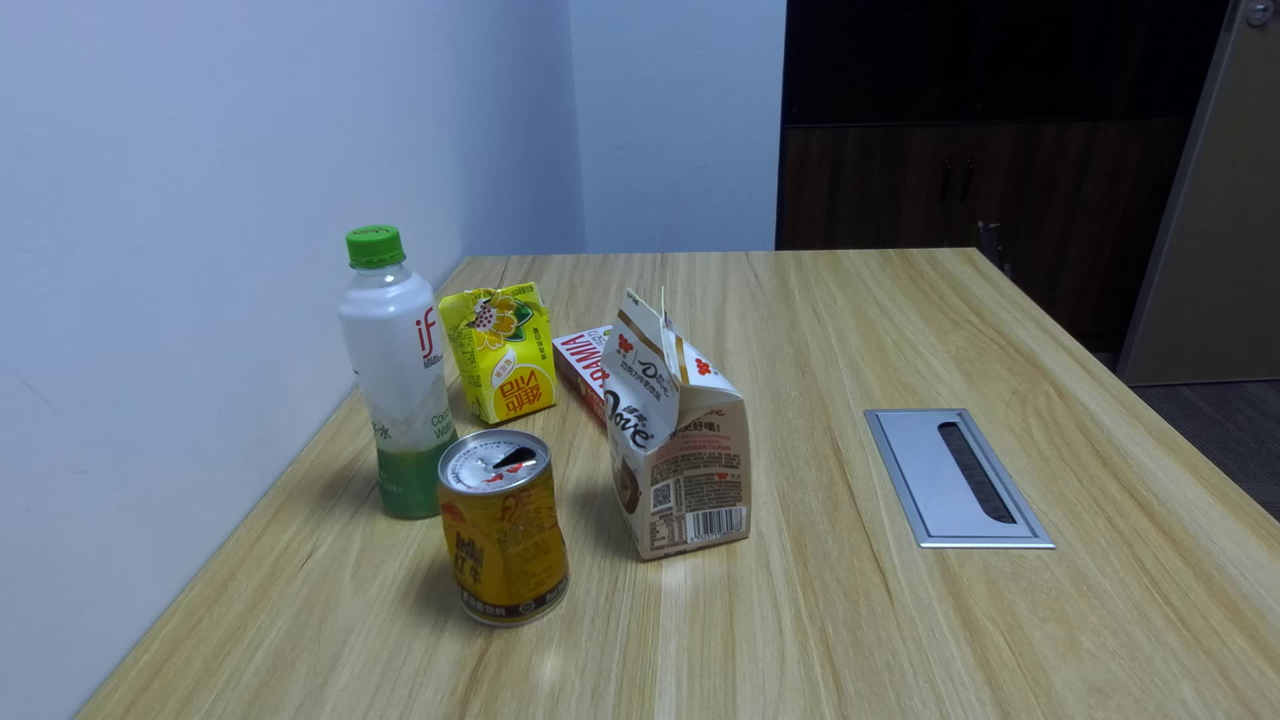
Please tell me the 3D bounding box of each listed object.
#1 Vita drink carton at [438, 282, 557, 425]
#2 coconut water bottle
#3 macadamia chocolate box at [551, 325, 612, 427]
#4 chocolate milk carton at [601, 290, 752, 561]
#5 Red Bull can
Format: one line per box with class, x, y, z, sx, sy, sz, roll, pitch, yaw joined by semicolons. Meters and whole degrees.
Vita drink carton;-0.115;-0.009;0.585;0.087;0.108;0.042;-16;17;-30
coconut water bottle;-0.154;0.010;0.459;0.063;0.189;0.063;-2;26;1
macadamia chocolate box;-0.003;0.018;0.618;0.096;0.027;0.177;-15;31;-21
chocolate milk carton;0.021;0.034;0.430;0.074;0.156;0.076;-11;29;-12
Red Bull can;-0.075;0.092;0.397;0.072;0.092;0.072;-2;27;1
